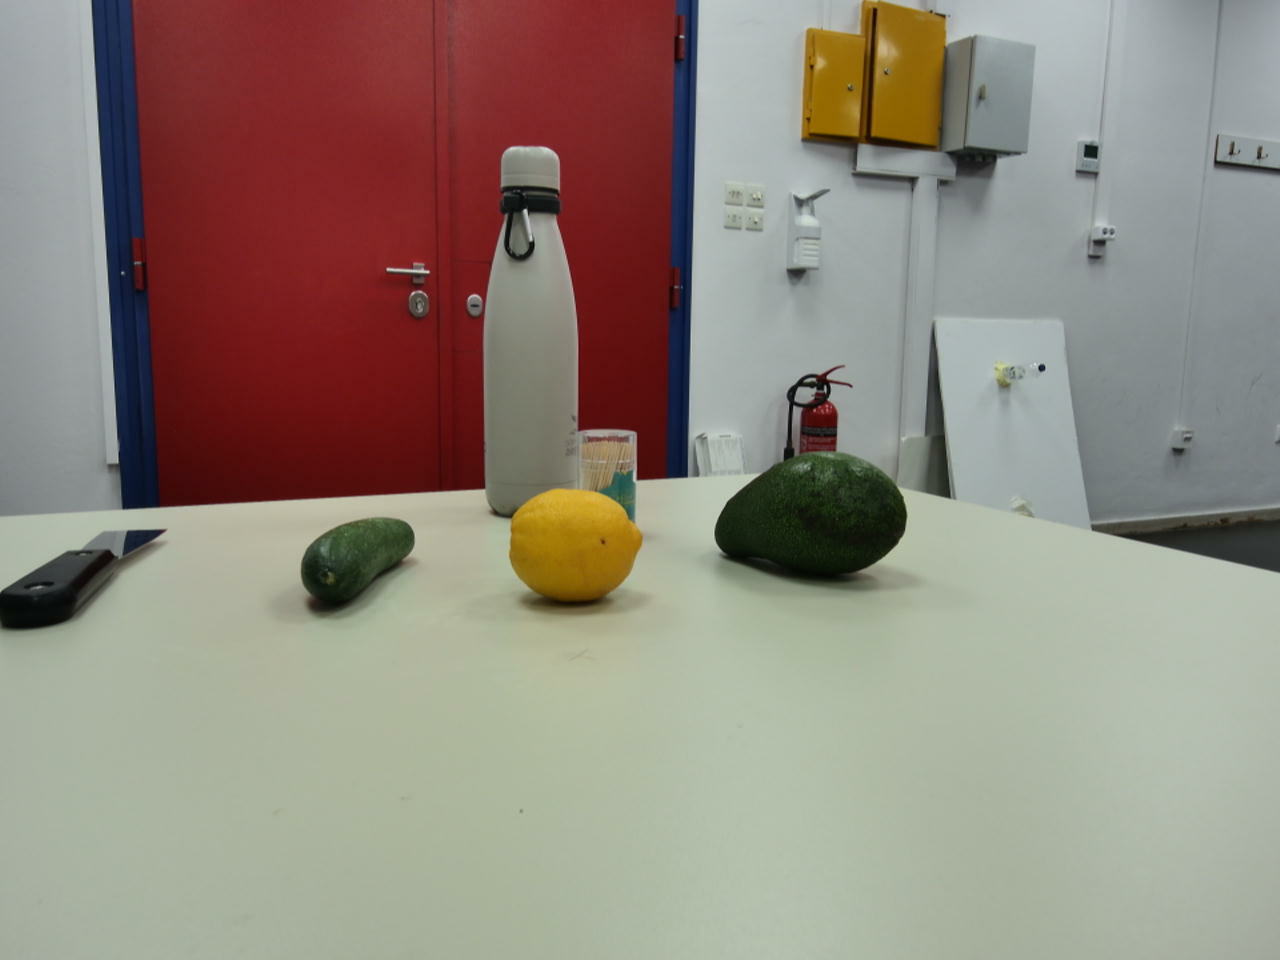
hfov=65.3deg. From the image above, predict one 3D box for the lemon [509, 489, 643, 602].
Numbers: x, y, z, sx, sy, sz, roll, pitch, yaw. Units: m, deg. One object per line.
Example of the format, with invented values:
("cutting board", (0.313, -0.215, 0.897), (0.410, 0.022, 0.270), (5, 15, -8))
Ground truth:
("lemon", (-0.036, 0.035, 0.530), (0.067, 0.059, 0.060), (3, 7, 17))
